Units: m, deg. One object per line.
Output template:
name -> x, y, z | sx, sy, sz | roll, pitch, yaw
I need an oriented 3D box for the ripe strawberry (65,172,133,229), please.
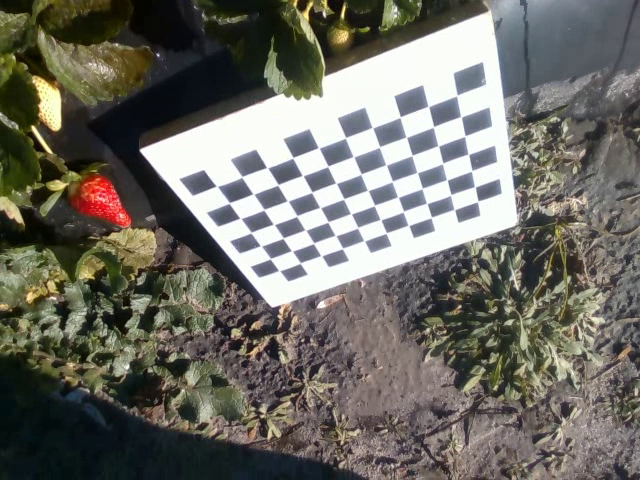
ripe strawberry -> -0.188, -0.030, 0.536 | 0.048, 0.040, 0.068 | -31, -49, 24
